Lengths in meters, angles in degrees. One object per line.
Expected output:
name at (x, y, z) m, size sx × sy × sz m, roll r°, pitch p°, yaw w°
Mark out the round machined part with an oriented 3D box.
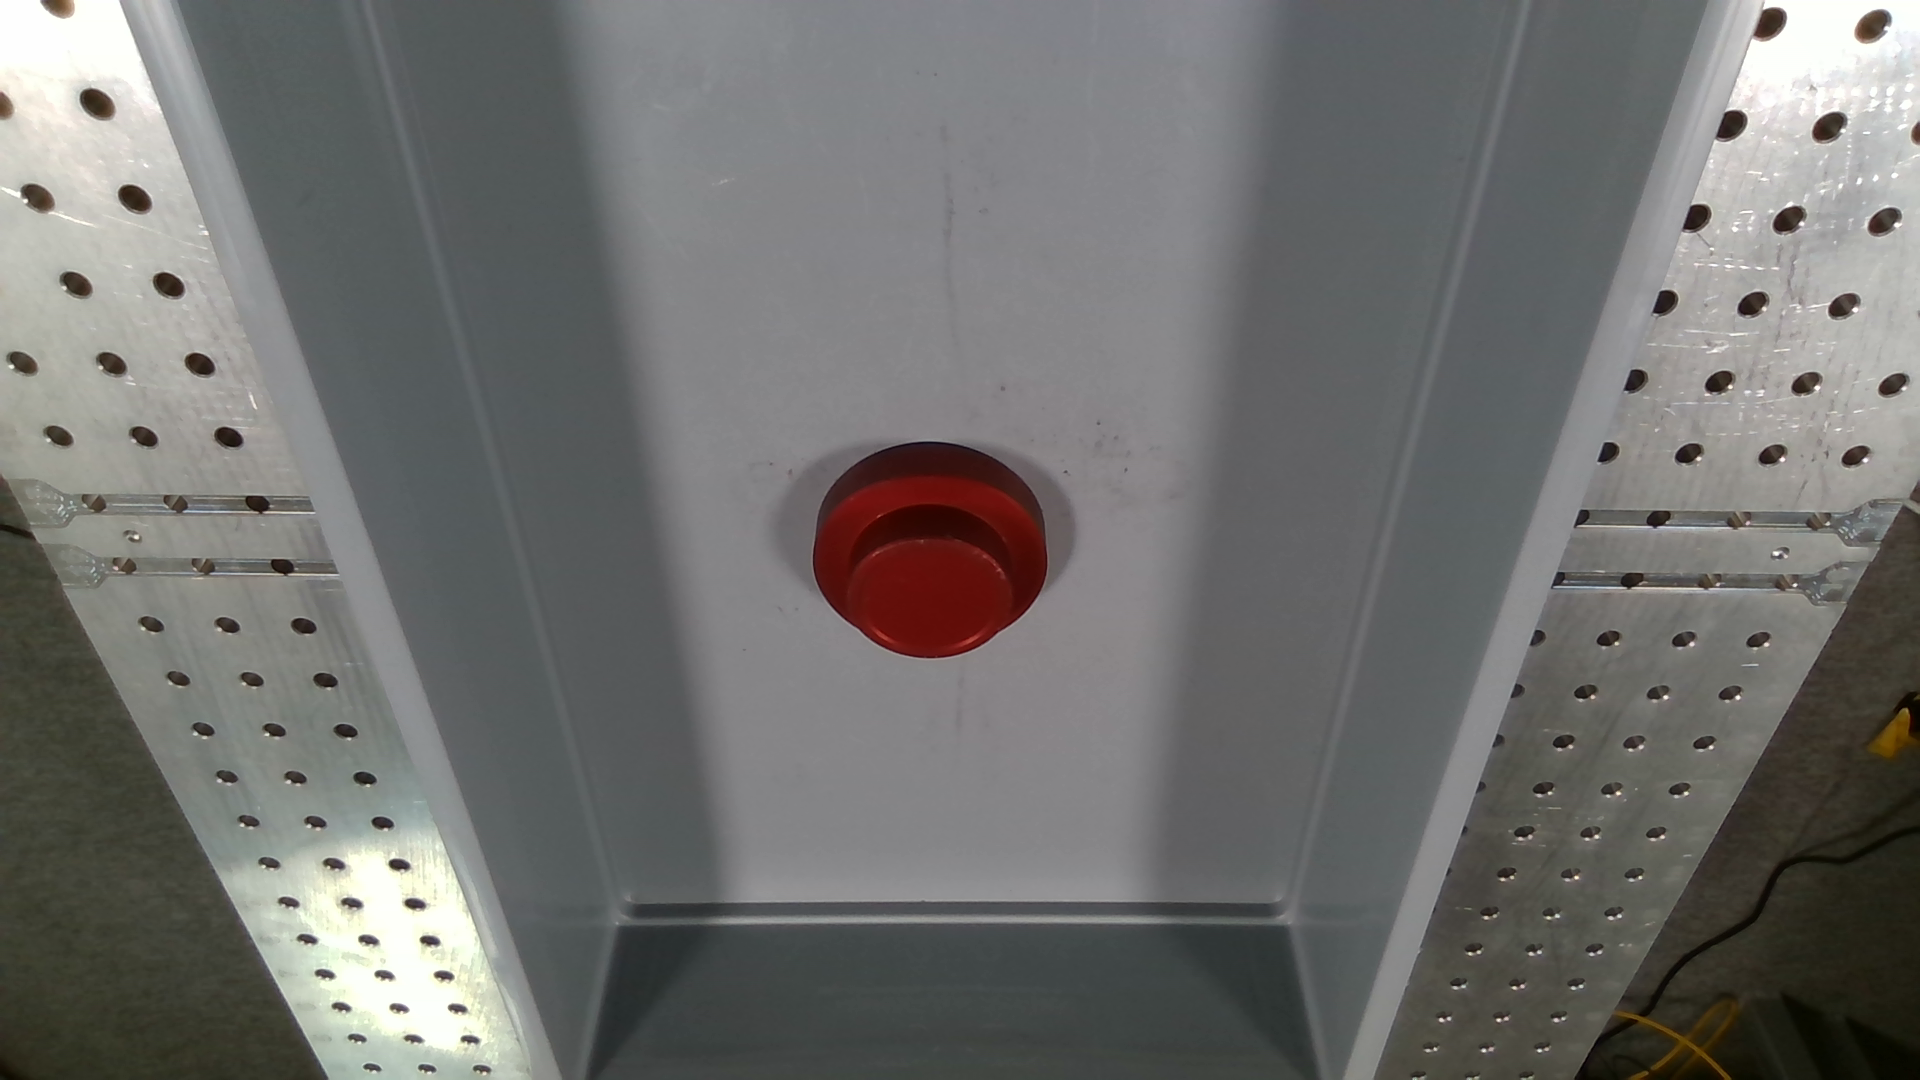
round machined part at (-0.013, 0.011, 0.574) m, size 0.098 × 0.042 × 0.098 m, roll 0°, pitch 130°, yaw 0°
